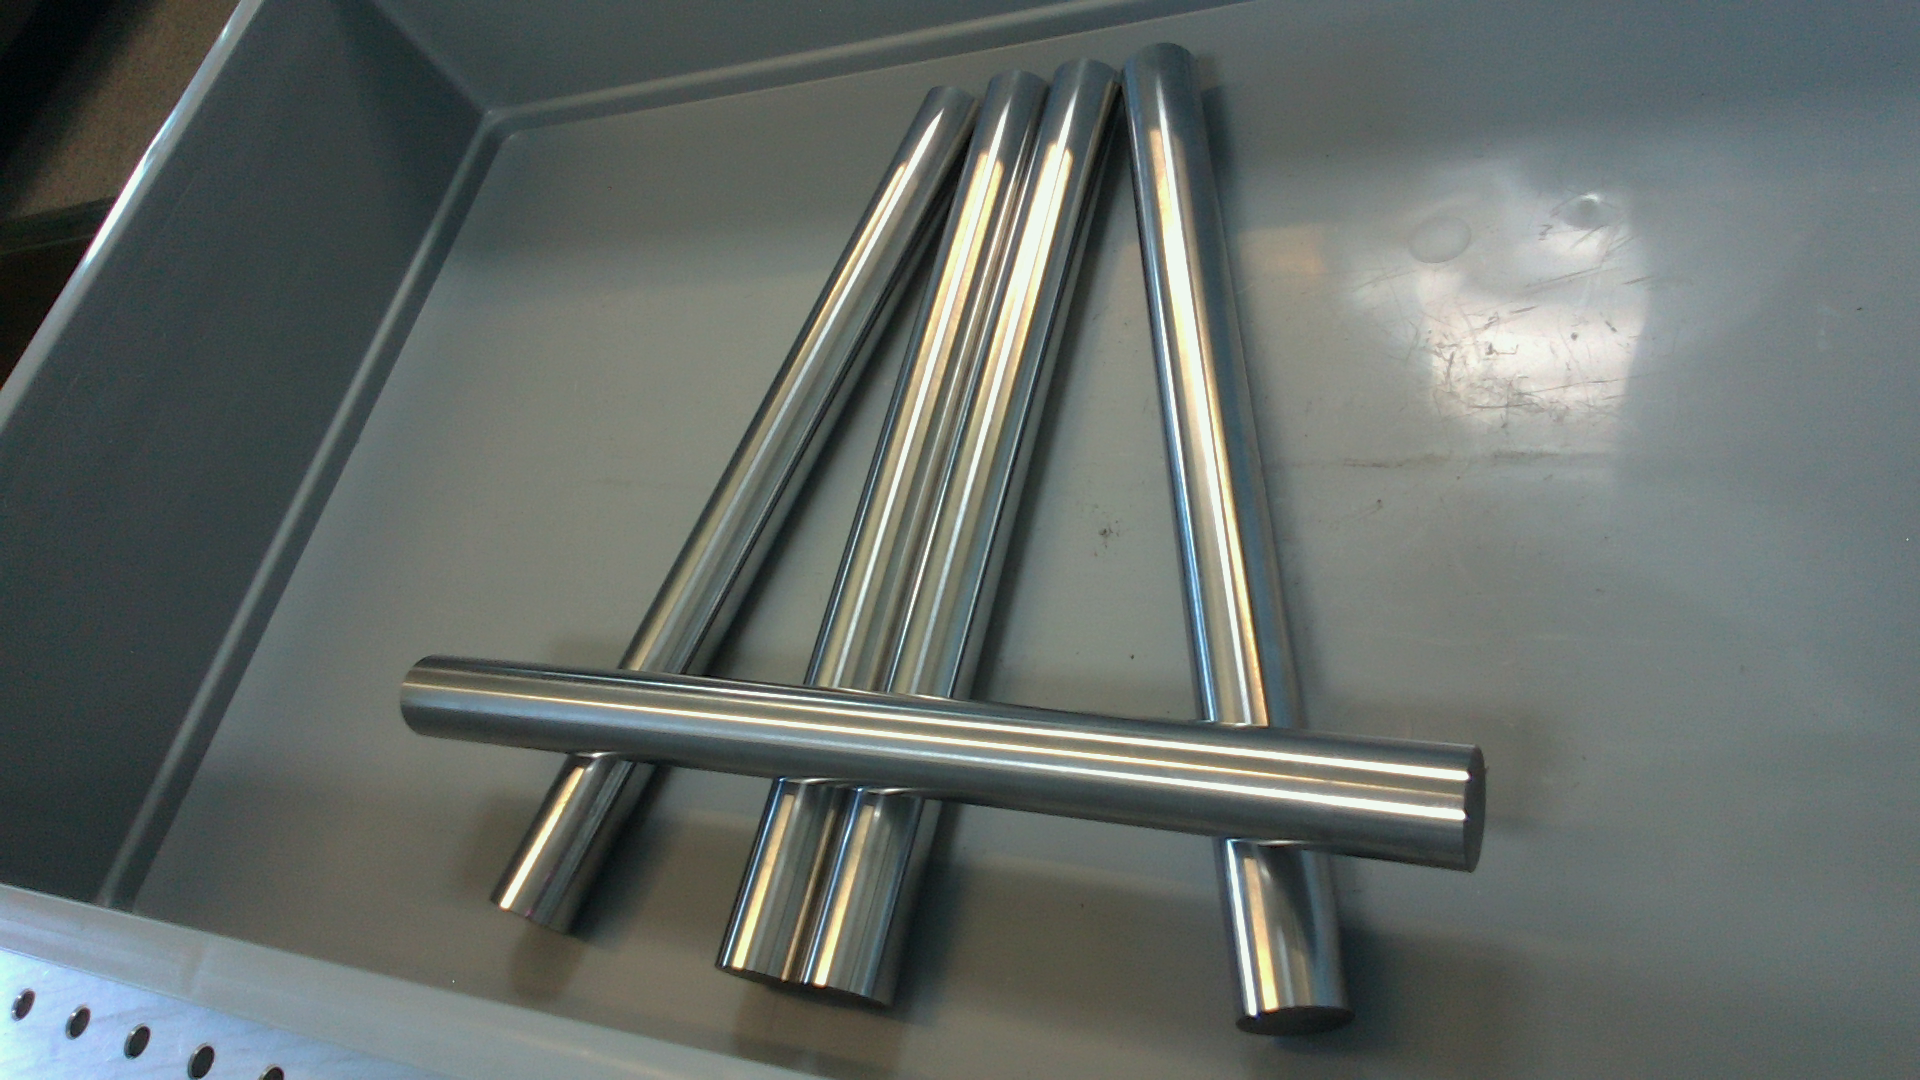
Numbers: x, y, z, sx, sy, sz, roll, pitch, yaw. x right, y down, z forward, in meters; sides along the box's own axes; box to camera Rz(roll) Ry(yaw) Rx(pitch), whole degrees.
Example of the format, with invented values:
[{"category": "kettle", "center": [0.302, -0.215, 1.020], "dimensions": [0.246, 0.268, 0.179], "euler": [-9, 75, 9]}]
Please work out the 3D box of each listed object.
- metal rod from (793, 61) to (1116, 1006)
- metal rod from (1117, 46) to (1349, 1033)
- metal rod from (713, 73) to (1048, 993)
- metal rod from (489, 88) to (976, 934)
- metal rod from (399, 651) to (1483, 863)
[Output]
[{"category": "metal rod", "center": [0.007, -0.020, 0.402], "dimensions": [0.025, 0.025, 0.300], "euler": [1, 62, 29]}, {"category": "metal rod", "center": [0.067, -0.025, 0.372], "dimensions": [0.025, 0.025, 0.300], "euler": [-15, 55, 20]}, {"category": "metal rod", "center": [-0.015, -0.020, 0.413], "dimensions": [0.025, 0.025, 0.300], "euler": [1, 62, 29]}, {"category": "metal rod", "center": [-0.062, -0.022, 0.440], "dimensions": [0.025, 0.025, 0.300], "euler": [13, 68, 34]}, {"category": "metal rod", "center": [-0.029, 0.049, 0.345], "dimensions": [0.299, 0.025, 0.025], "euler": [1, 62, 29]}]
